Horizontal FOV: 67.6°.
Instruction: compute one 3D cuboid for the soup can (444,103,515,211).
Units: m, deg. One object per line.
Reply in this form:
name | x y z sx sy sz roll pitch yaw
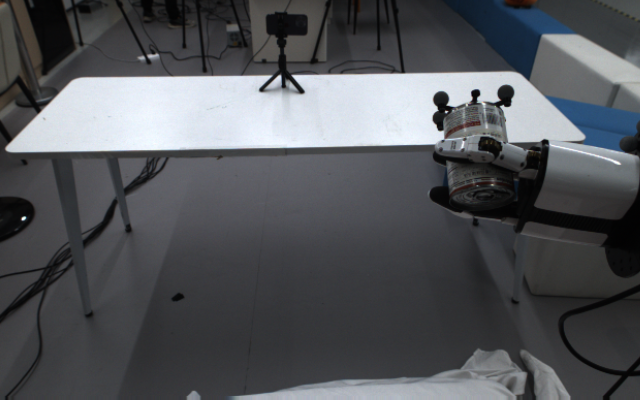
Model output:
soup can | 0.174 -0.047 0.528 0.067 0.067 0.101 2 68 -1
